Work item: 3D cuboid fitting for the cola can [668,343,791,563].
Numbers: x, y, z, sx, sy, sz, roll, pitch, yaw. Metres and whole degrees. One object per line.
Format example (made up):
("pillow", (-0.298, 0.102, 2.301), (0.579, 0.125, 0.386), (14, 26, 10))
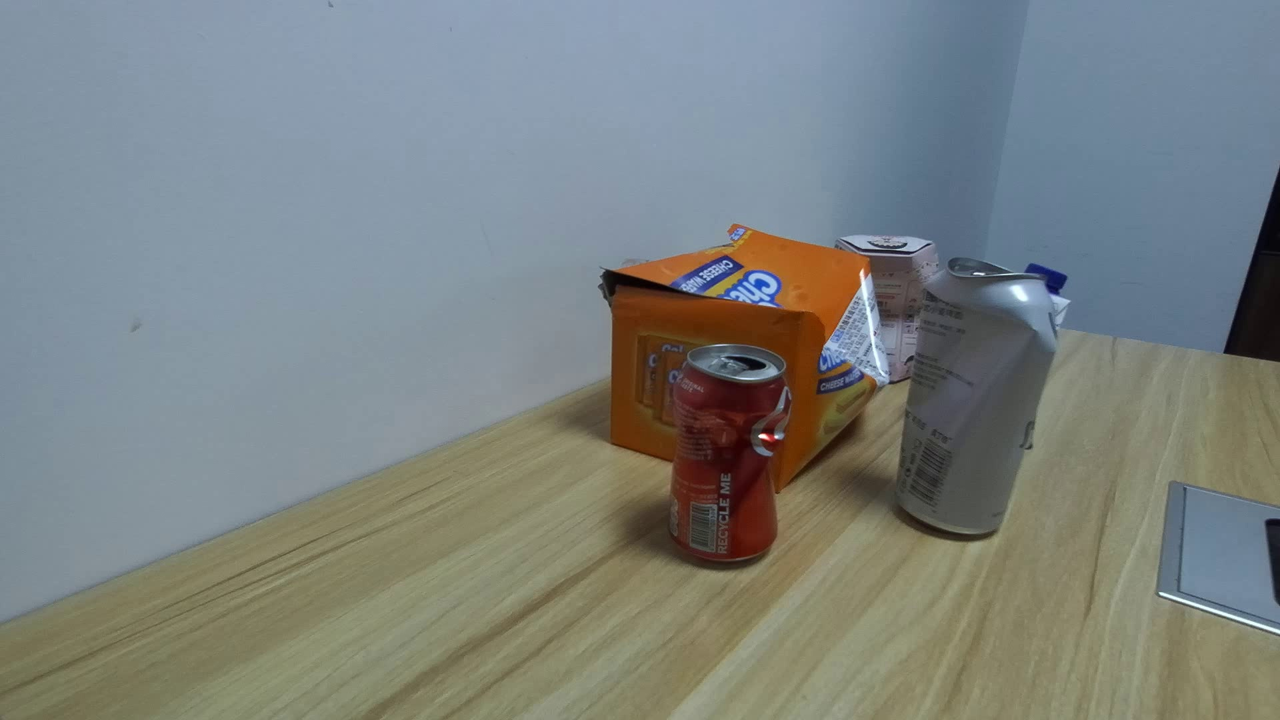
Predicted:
("cola can", (0.050, 0.052, 0.402), (0.066, 0.117, 0.066), (-1, 20, -7))

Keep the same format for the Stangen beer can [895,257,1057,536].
("Stangen beer can", (0.200, 0.024, 0.431), (0.077, 0.162, 0.066), (11, 21, 25))

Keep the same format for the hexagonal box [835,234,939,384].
("hexagonal box", (0.233, -0.050, 0.691), (0.090, 0.134, 0.090), (-21, 29, -35))

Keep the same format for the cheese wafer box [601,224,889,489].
("cheese wafer box", (0.103, -0.017, 0.568), (0.190, 0.145, 0.220), (12, 22, 30))
